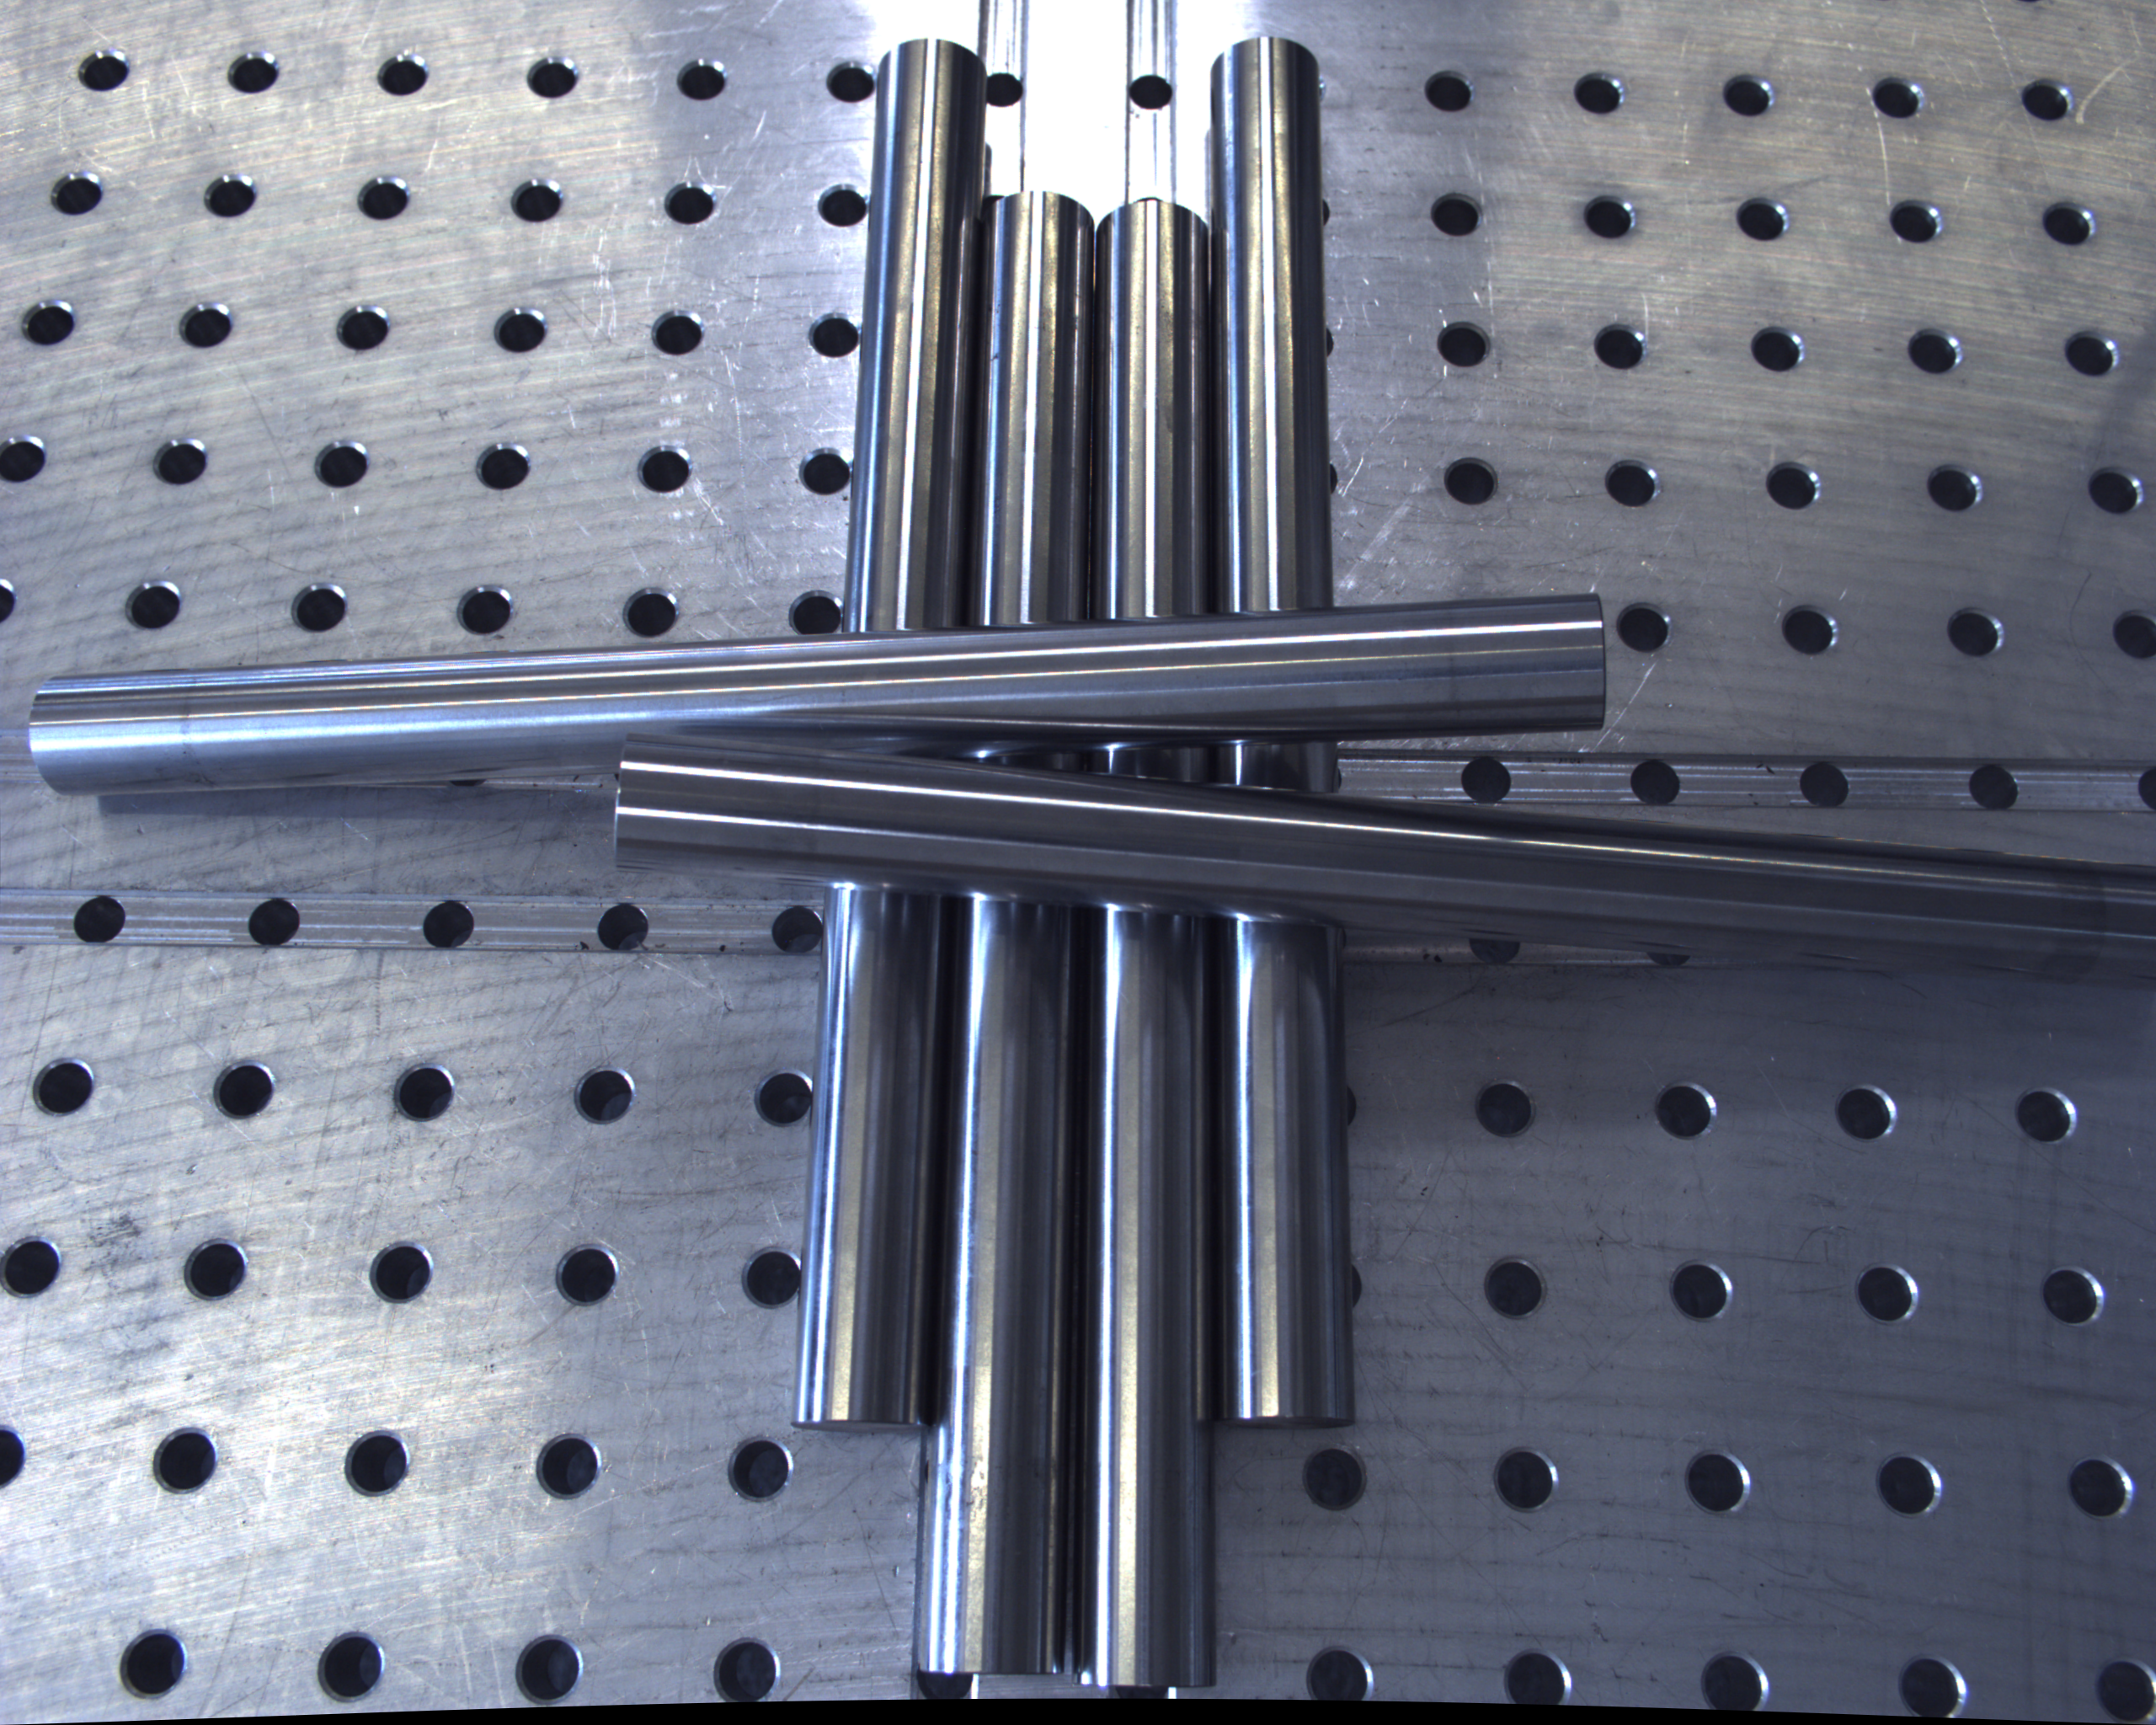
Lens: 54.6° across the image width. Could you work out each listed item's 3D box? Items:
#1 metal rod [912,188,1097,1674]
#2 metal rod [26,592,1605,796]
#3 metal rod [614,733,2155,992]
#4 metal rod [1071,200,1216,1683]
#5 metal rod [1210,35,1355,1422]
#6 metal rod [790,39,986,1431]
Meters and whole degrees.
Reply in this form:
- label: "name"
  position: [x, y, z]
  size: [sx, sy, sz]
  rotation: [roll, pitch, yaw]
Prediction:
- label: "metal rod"
  position: [-0.012, -0.001, 0.411]
  size: [0.025, 0.025, 0.299]
  rotation: [1, 70, 0]
- label: "metal rod"
  position: [-0.055, -0.031, 0.398]
  size: [0.301, 0.025, 0.025]
  rotation: [-2, 70, 9]
- label: "metal rod"
  position: [0.069, 0.002, 0.390]
  size: [0.302, 0.025, 0.025]
  rotation: [5, 70, -8]
- label: "metal rod"
  position: [0.014, 0.001, 0.412]
  size: [0.025, 0.025, 0.299]
  rotation: [1, 70, 0]
- label: "metal rod"
  position: [0.040, -0.040, 0.426]
  size: [0.025, 0.025, 0.299]
  rotation: [1, 70, 0]
- label: "metal rod"
  position: [-0.036, -0.039, 0.425]
  size: [0.025, 0.025, 0.299]
  rotation: [1, 70, 0]
